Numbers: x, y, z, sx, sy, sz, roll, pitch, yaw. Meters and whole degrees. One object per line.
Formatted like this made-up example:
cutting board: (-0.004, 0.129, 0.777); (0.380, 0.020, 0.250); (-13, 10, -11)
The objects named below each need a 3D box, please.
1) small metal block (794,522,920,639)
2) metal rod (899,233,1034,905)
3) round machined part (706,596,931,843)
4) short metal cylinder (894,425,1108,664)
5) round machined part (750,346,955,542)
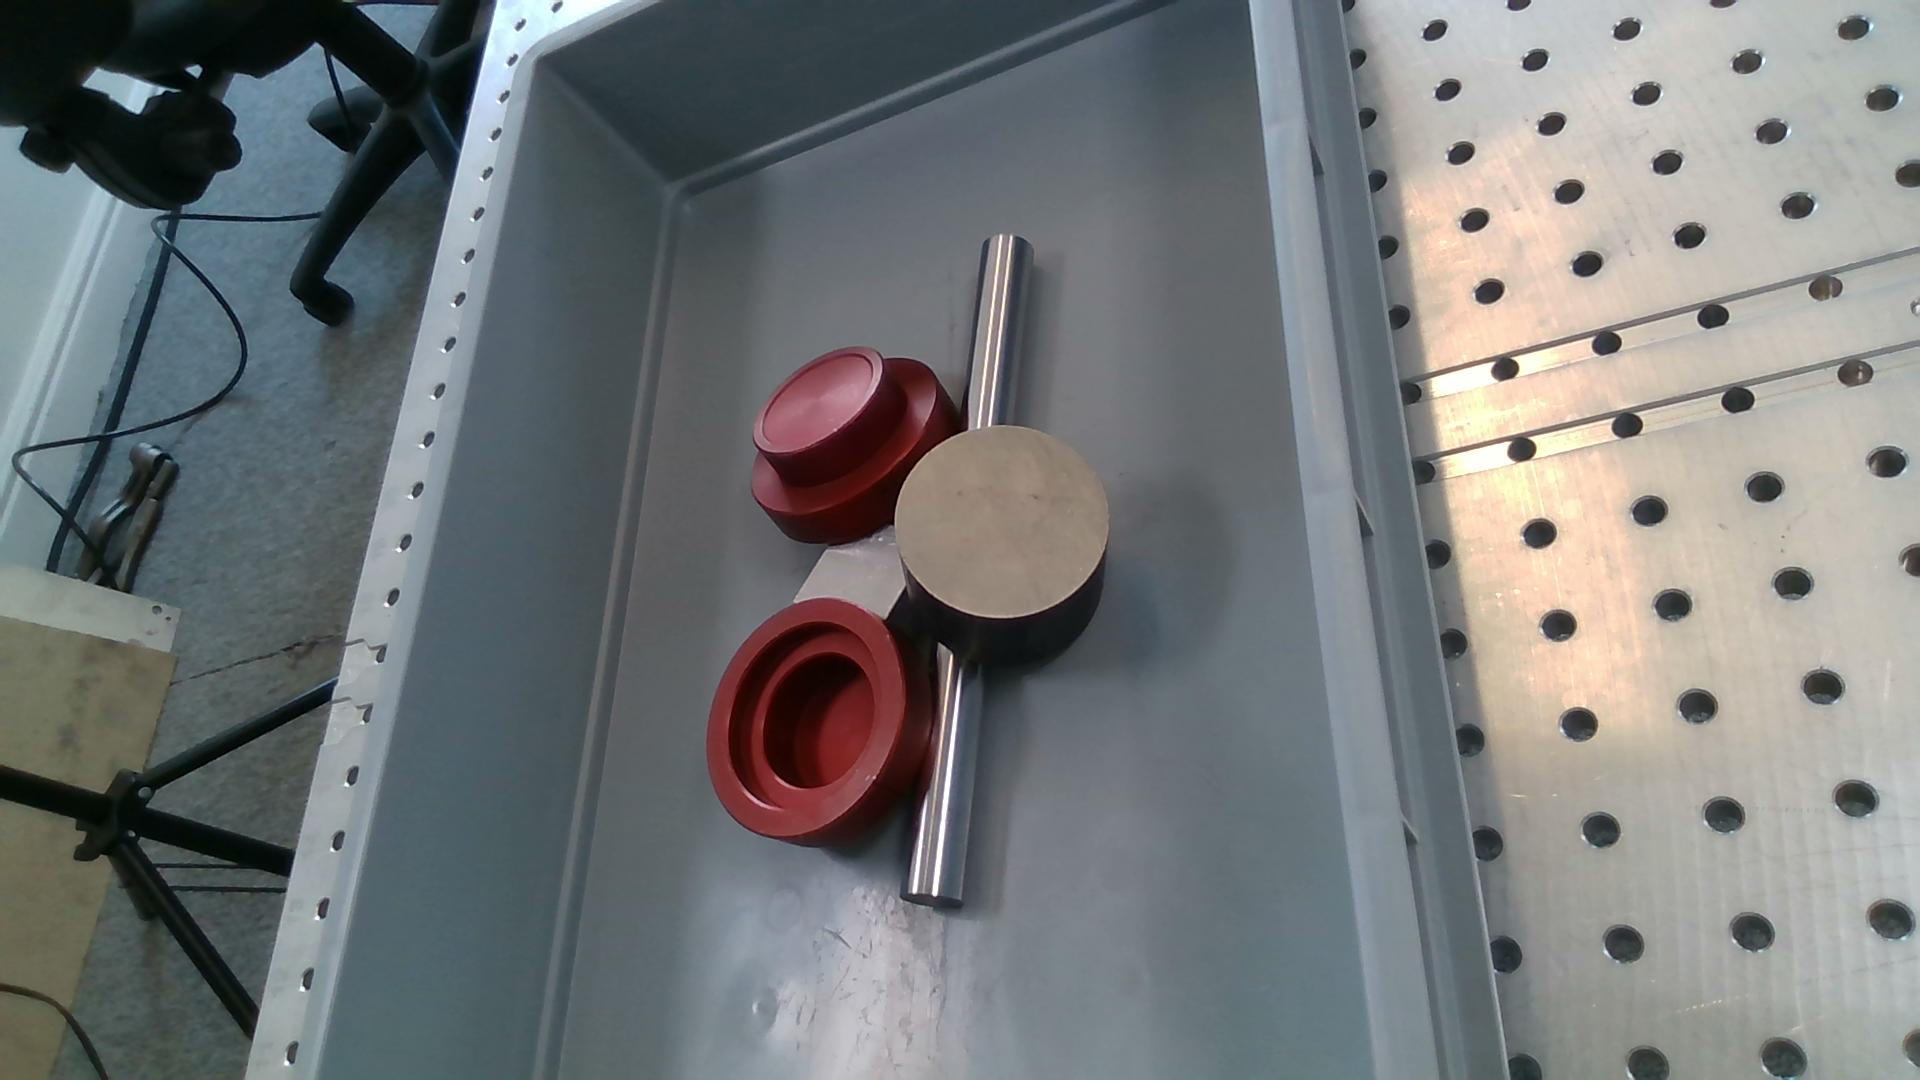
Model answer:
small metal block: (-0.037, 0.019, 0.596); (0.050, 0.025, 0.050); (26, 81, 38)
metal rod: (0.006, 0.000, 0.581); (0.025, 0.025, 0.299); (-7, 62, 29)
round machined part: (-0.053, 0.076, 0.563); (0.098, 0.042, 0.098); (-14, 62, 28)
short metal cylinder: (0.017, 0.002, 0.538); (0.080, 0.050, 0.080); (-1, 65, 3)
round machined part: (-0.053, -0.049, 0.615); (0.098, 0.042, 0.098); (-22, 38, 18)
